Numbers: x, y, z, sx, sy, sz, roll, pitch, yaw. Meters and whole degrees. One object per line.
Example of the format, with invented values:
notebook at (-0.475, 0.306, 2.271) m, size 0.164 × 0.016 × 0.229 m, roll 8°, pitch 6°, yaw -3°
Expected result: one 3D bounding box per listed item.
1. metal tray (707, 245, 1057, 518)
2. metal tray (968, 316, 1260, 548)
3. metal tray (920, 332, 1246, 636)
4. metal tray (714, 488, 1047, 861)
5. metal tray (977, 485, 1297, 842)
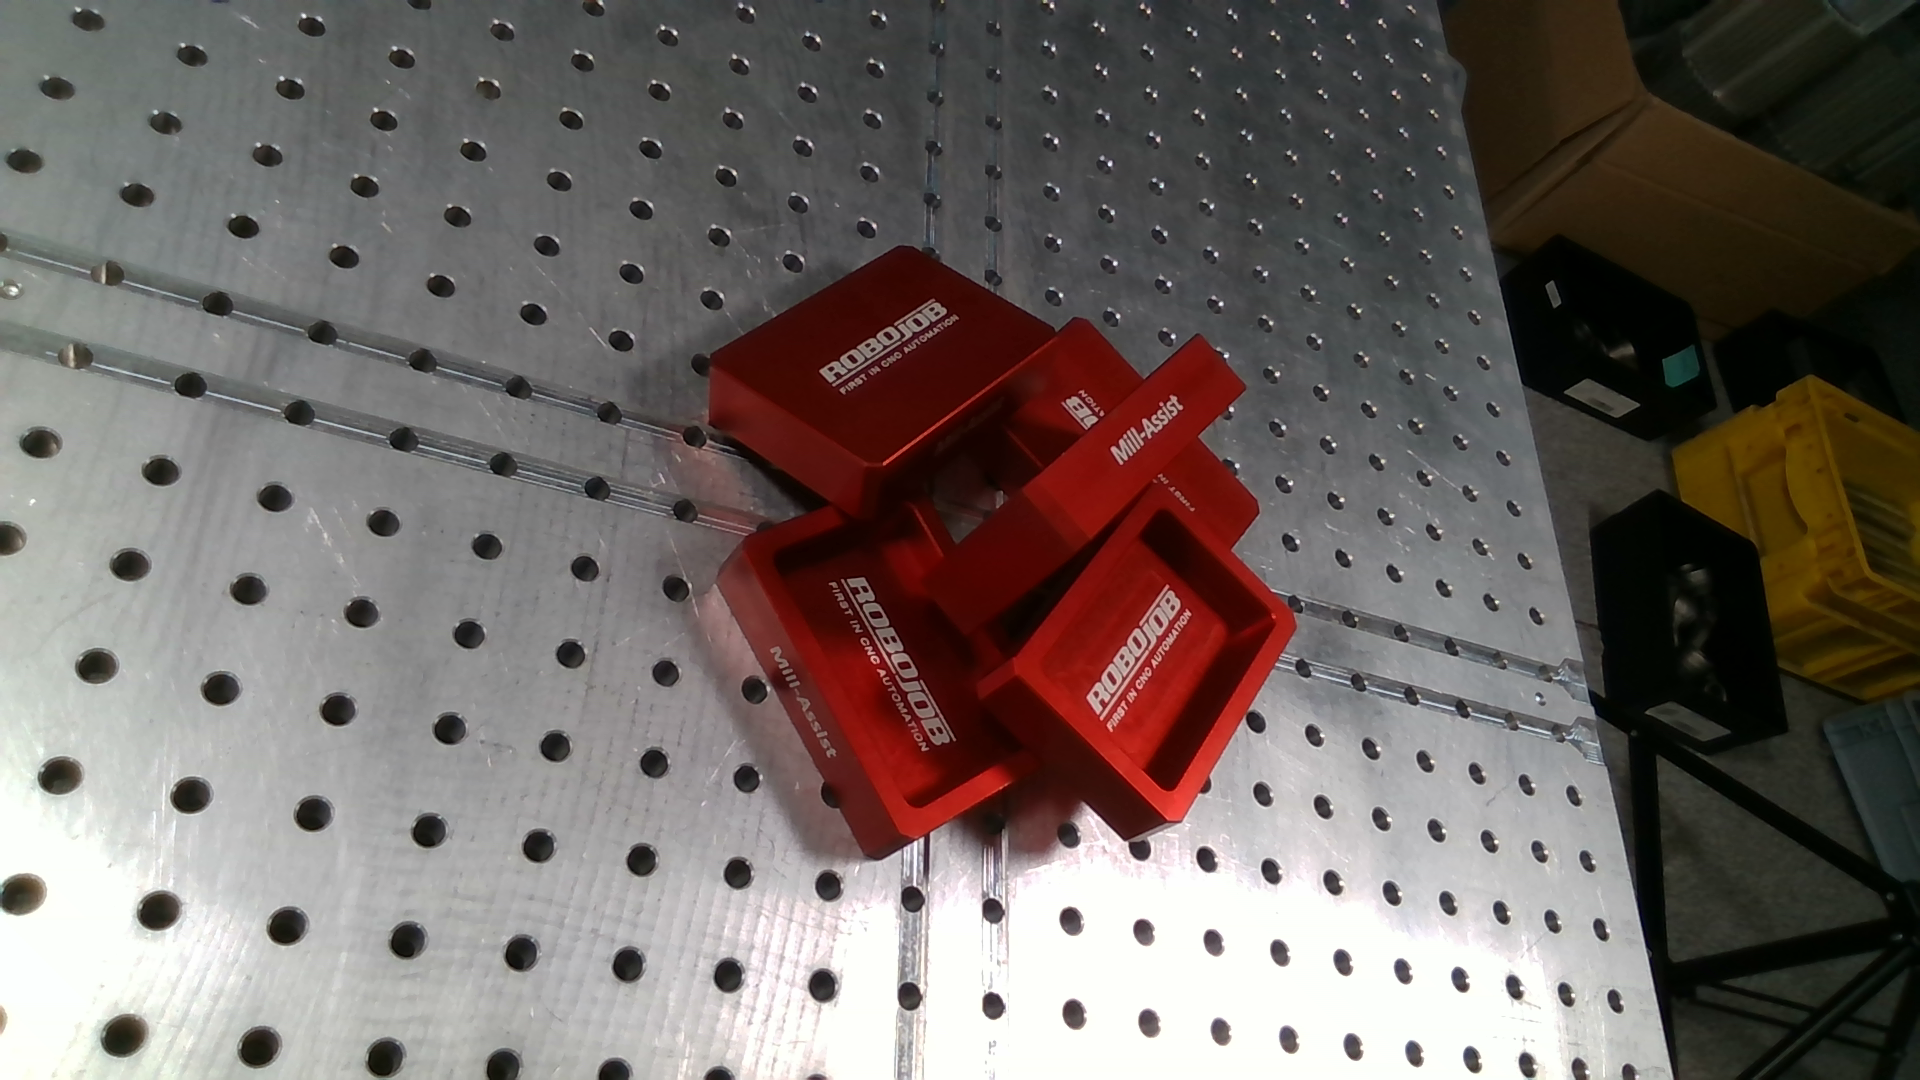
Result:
metal tray at (-0.031, -0.071, 0.581) m, size 0.090 × 0.030 × 0.130 m, roll 33°, pitch 48°, yaw 20°
metal tray at (0.071, -0.032, 0.646) m, size 0.130 × 0.030 × 0.090 m, roll 47°, pitch 51°, yaw -2°
metal tray at (0.050, -0.023, 0.550) m, size 0.030 × 0.090 × 0.130 m, roll 48°, pitch 51°, yaw 0°
metal tray at (-0.027, 0.047, 0.543) m, size 0.090 × 0.030 × 0.130 m, roll -23°, pitch 78°, yaw -38°
metal tray at (0.077, 0.047, 0.568) m, size 0.090 × 0.030 × 0.130 m, roll 45°, pitch 51°, yaw -3°
